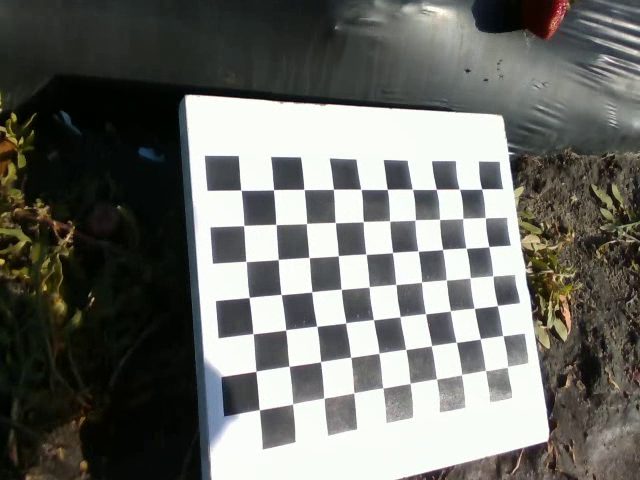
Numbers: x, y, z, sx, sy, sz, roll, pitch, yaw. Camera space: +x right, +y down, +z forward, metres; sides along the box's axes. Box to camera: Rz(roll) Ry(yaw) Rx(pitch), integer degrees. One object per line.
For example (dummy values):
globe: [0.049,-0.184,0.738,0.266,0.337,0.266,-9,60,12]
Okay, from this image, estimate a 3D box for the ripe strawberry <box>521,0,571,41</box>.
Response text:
ripe strawberry: [0.179,-0.181,0.526,0.042,0.058,0.042,23,-31,-28]
